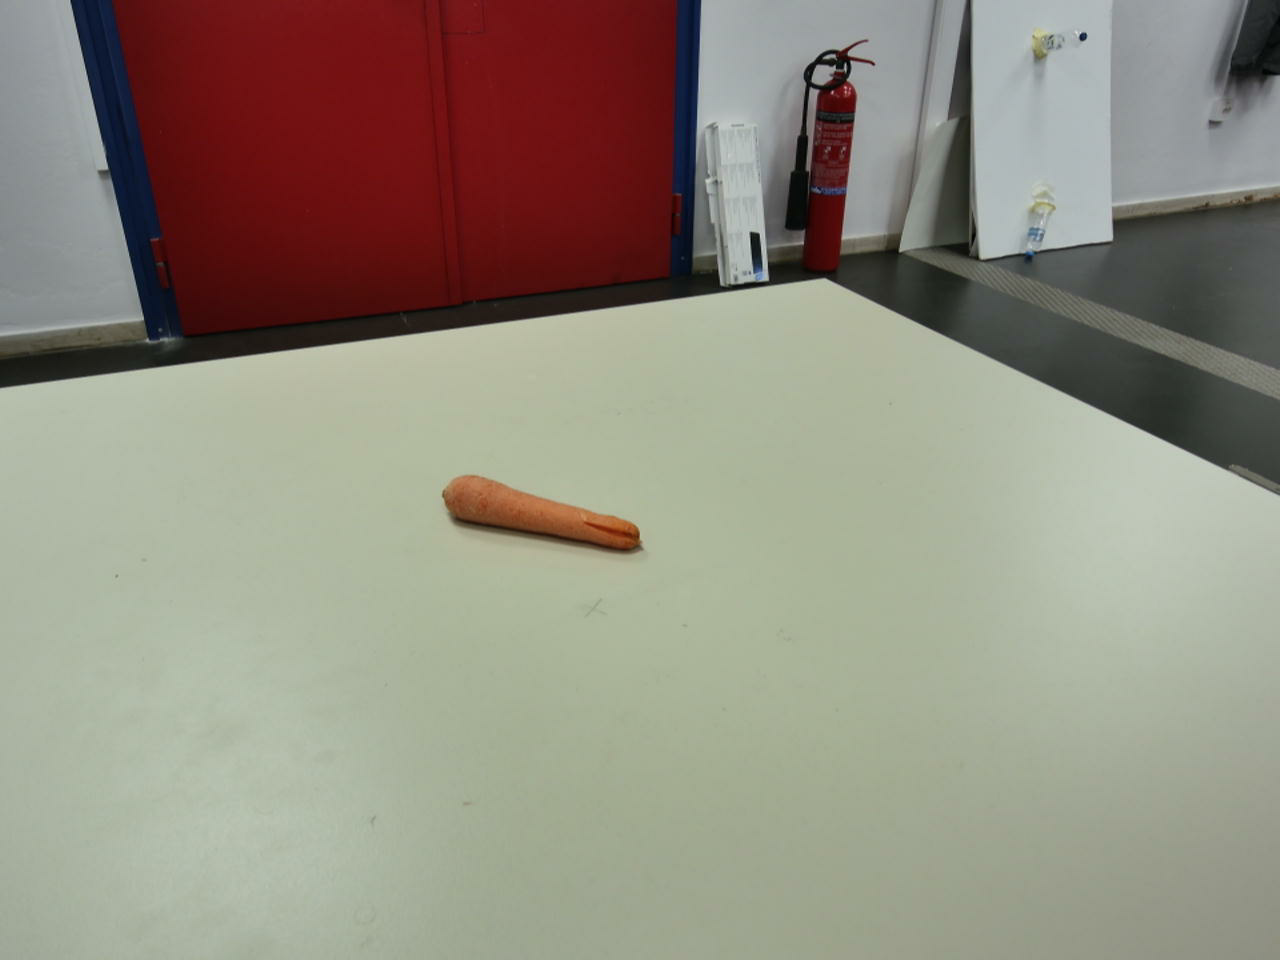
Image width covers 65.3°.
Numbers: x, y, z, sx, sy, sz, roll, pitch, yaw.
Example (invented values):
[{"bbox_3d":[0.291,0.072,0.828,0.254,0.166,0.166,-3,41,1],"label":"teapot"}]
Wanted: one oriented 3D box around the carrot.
[{"bbox_3d":[-0.064,0.020,0.627,0.136,0.032,0.030,10,28,19],"label":"carrot"}]
